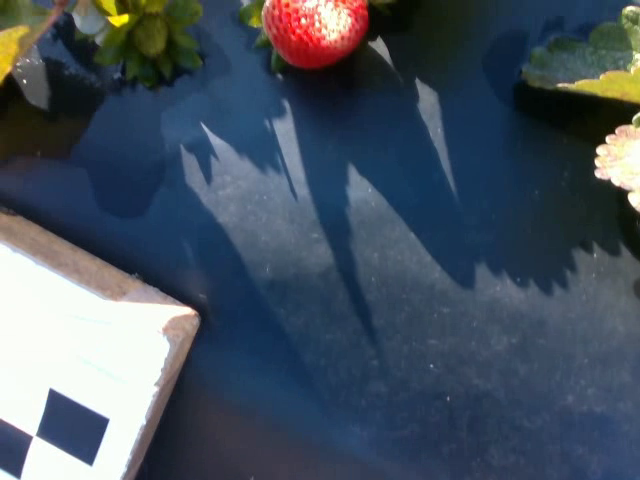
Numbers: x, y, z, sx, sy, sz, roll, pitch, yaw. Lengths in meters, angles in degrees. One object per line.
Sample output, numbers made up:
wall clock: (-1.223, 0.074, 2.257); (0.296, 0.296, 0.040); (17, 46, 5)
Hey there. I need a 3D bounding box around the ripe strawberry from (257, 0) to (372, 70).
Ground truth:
ripe strawberry: (0.002, -0.062, 0.143); (0.042, 0.037, 0.045); (-1, 26, -16)
